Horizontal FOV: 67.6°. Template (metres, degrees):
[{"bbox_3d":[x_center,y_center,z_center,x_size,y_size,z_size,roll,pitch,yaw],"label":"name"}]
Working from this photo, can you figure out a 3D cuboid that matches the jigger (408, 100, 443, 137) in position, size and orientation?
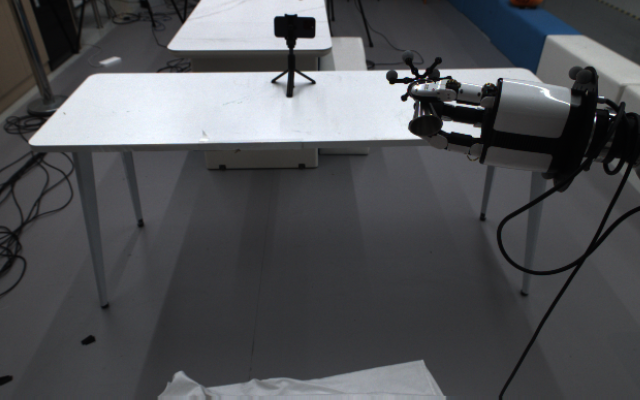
[{"bbox_3d":[0.141,-0.131,0.659,0.043,0.043,0.071,2,59,-1],"label":"jigger"}]
